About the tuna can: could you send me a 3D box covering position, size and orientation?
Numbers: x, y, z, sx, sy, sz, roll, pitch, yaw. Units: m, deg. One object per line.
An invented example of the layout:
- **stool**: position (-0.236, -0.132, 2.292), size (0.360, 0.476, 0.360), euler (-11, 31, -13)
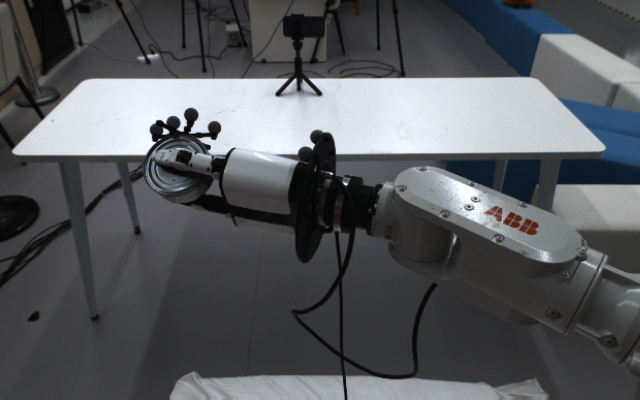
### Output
- **tuna can**: position (-0.176, -0.038, 0.624), size (0.085, 0.034, 0.085), euler (-2, 69, 6)
